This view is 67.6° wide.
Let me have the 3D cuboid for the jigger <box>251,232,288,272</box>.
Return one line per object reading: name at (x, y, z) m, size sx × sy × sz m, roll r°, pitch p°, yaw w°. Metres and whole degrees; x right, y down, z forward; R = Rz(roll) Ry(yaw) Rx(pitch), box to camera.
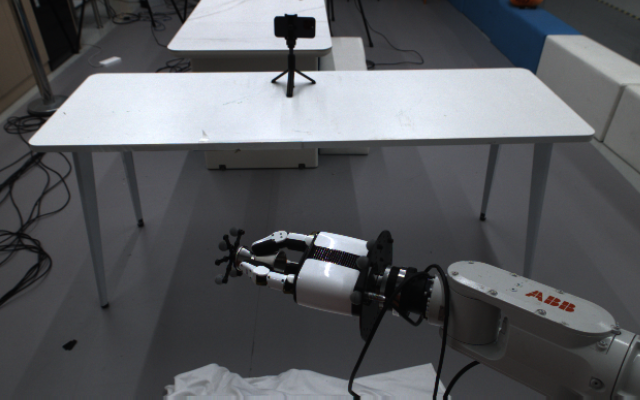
jigger at (-0.086, 0.092, 0.746) m, size 0.071 × 0.043 × 0.043 m, roll 7°, pitch 34°, yaw 23°
